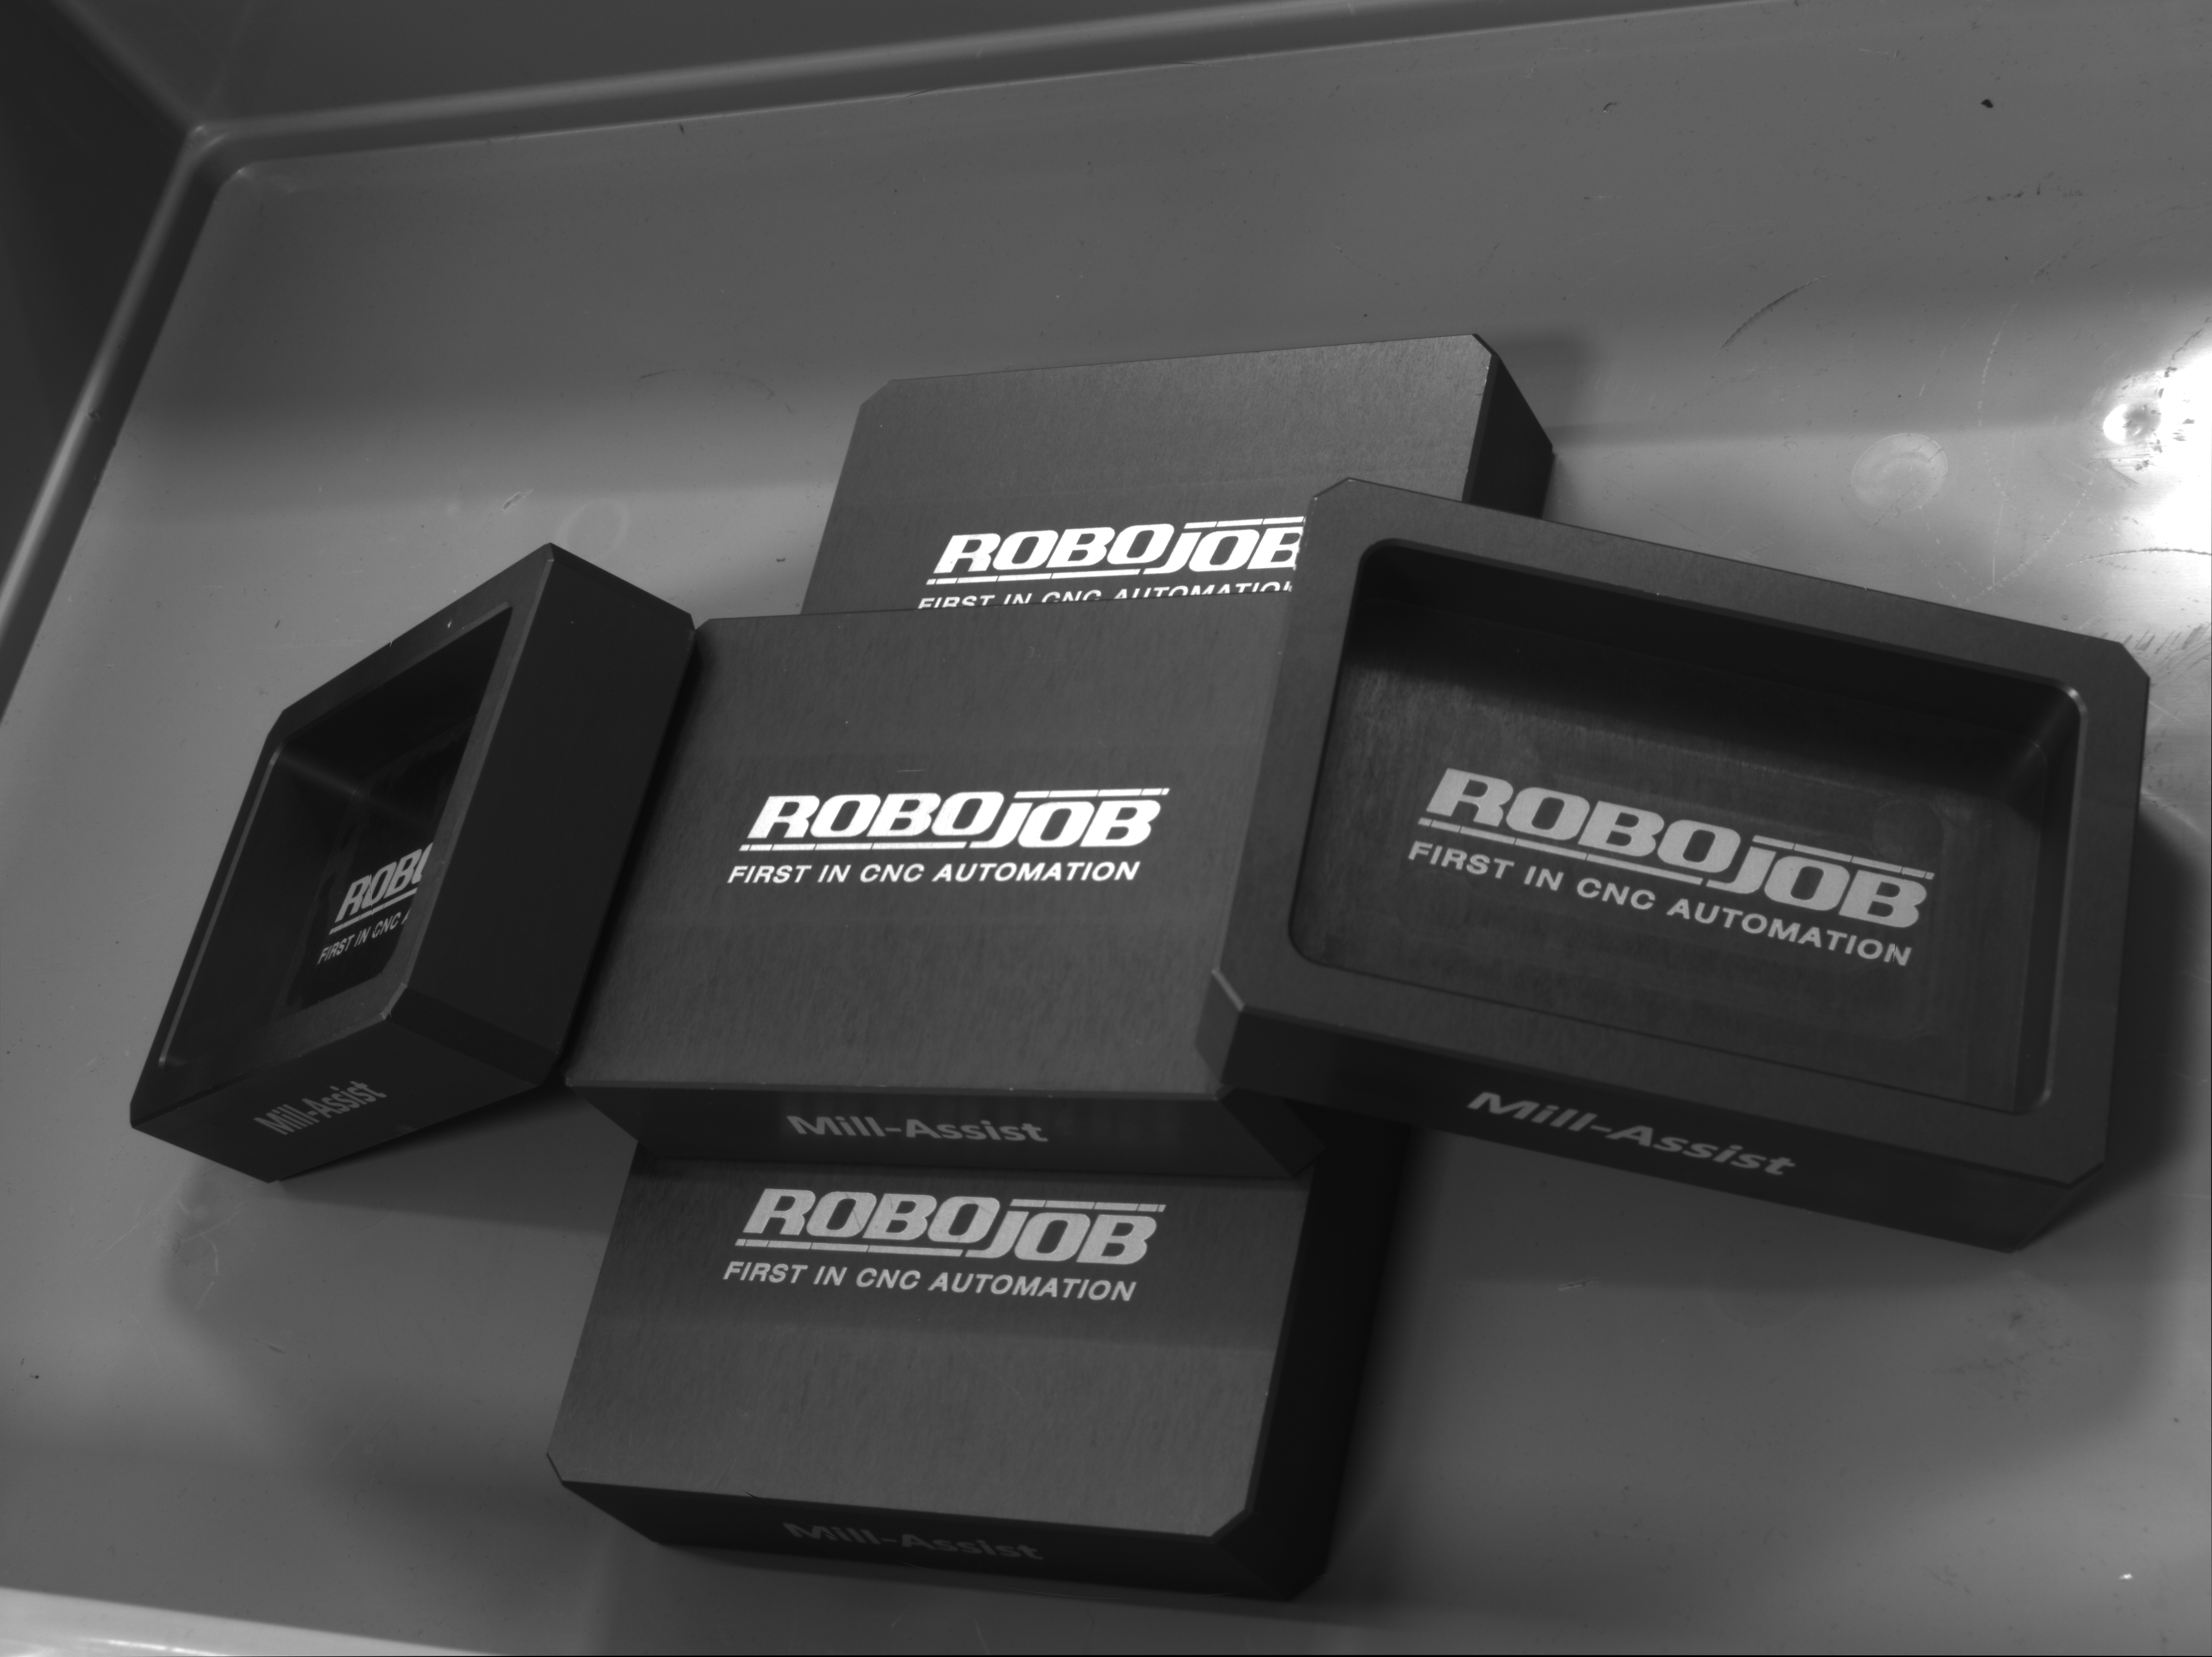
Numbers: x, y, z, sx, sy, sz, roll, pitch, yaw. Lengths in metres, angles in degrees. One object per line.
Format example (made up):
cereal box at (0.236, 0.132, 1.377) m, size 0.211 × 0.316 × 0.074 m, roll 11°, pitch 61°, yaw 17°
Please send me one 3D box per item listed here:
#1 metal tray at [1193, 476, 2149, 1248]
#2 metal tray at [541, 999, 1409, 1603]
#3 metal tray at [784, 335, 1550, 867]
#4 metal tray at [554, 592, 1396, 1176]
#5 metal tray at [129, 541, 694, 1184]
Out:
metal tray at (0.085, 0.004, 0.551) m, size 0.130 × 0.030 × 0.090 m, roll 12°, pitch 65°, yaw 1°
metal tray at (-0.021, 0.074, 0.604) m, size 0.130 × 0.030 × 0.090 m, roll 0°, pitch 61°, yaw 28°
metal tray at (0.008, -0.039, 0.659) m, size 0.130 × 0.030 × 0.090 m, roll 0°, pitch 61°, yaw 28°
metal tray at (-0.020, 0.009, 0.607) m, size 0.130 × 0.030 × 0.090 m, roll -1°, pitch 61°, yaw 28°
metal tray at (-0.128, 0.009, 0.664) m, size 0.130 × 0.030 × 0.090 m, roll -21°, pitch 48°, yaw 53°
